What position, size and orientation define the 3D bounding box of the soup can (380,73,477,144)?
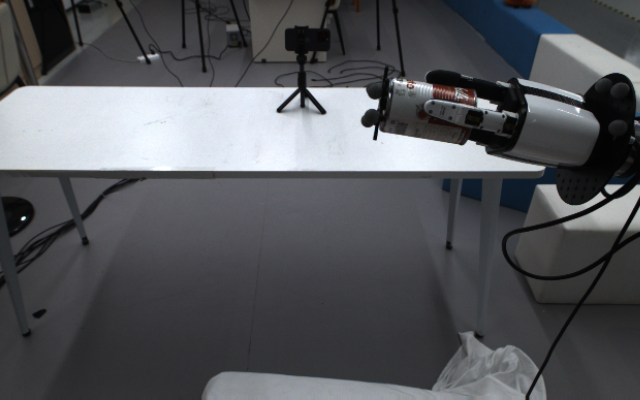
[{"bbox_3d":[0.130,-0.109,0.587,0.101,0.067,0.067,9,35,0],"label":"soup can"}]
